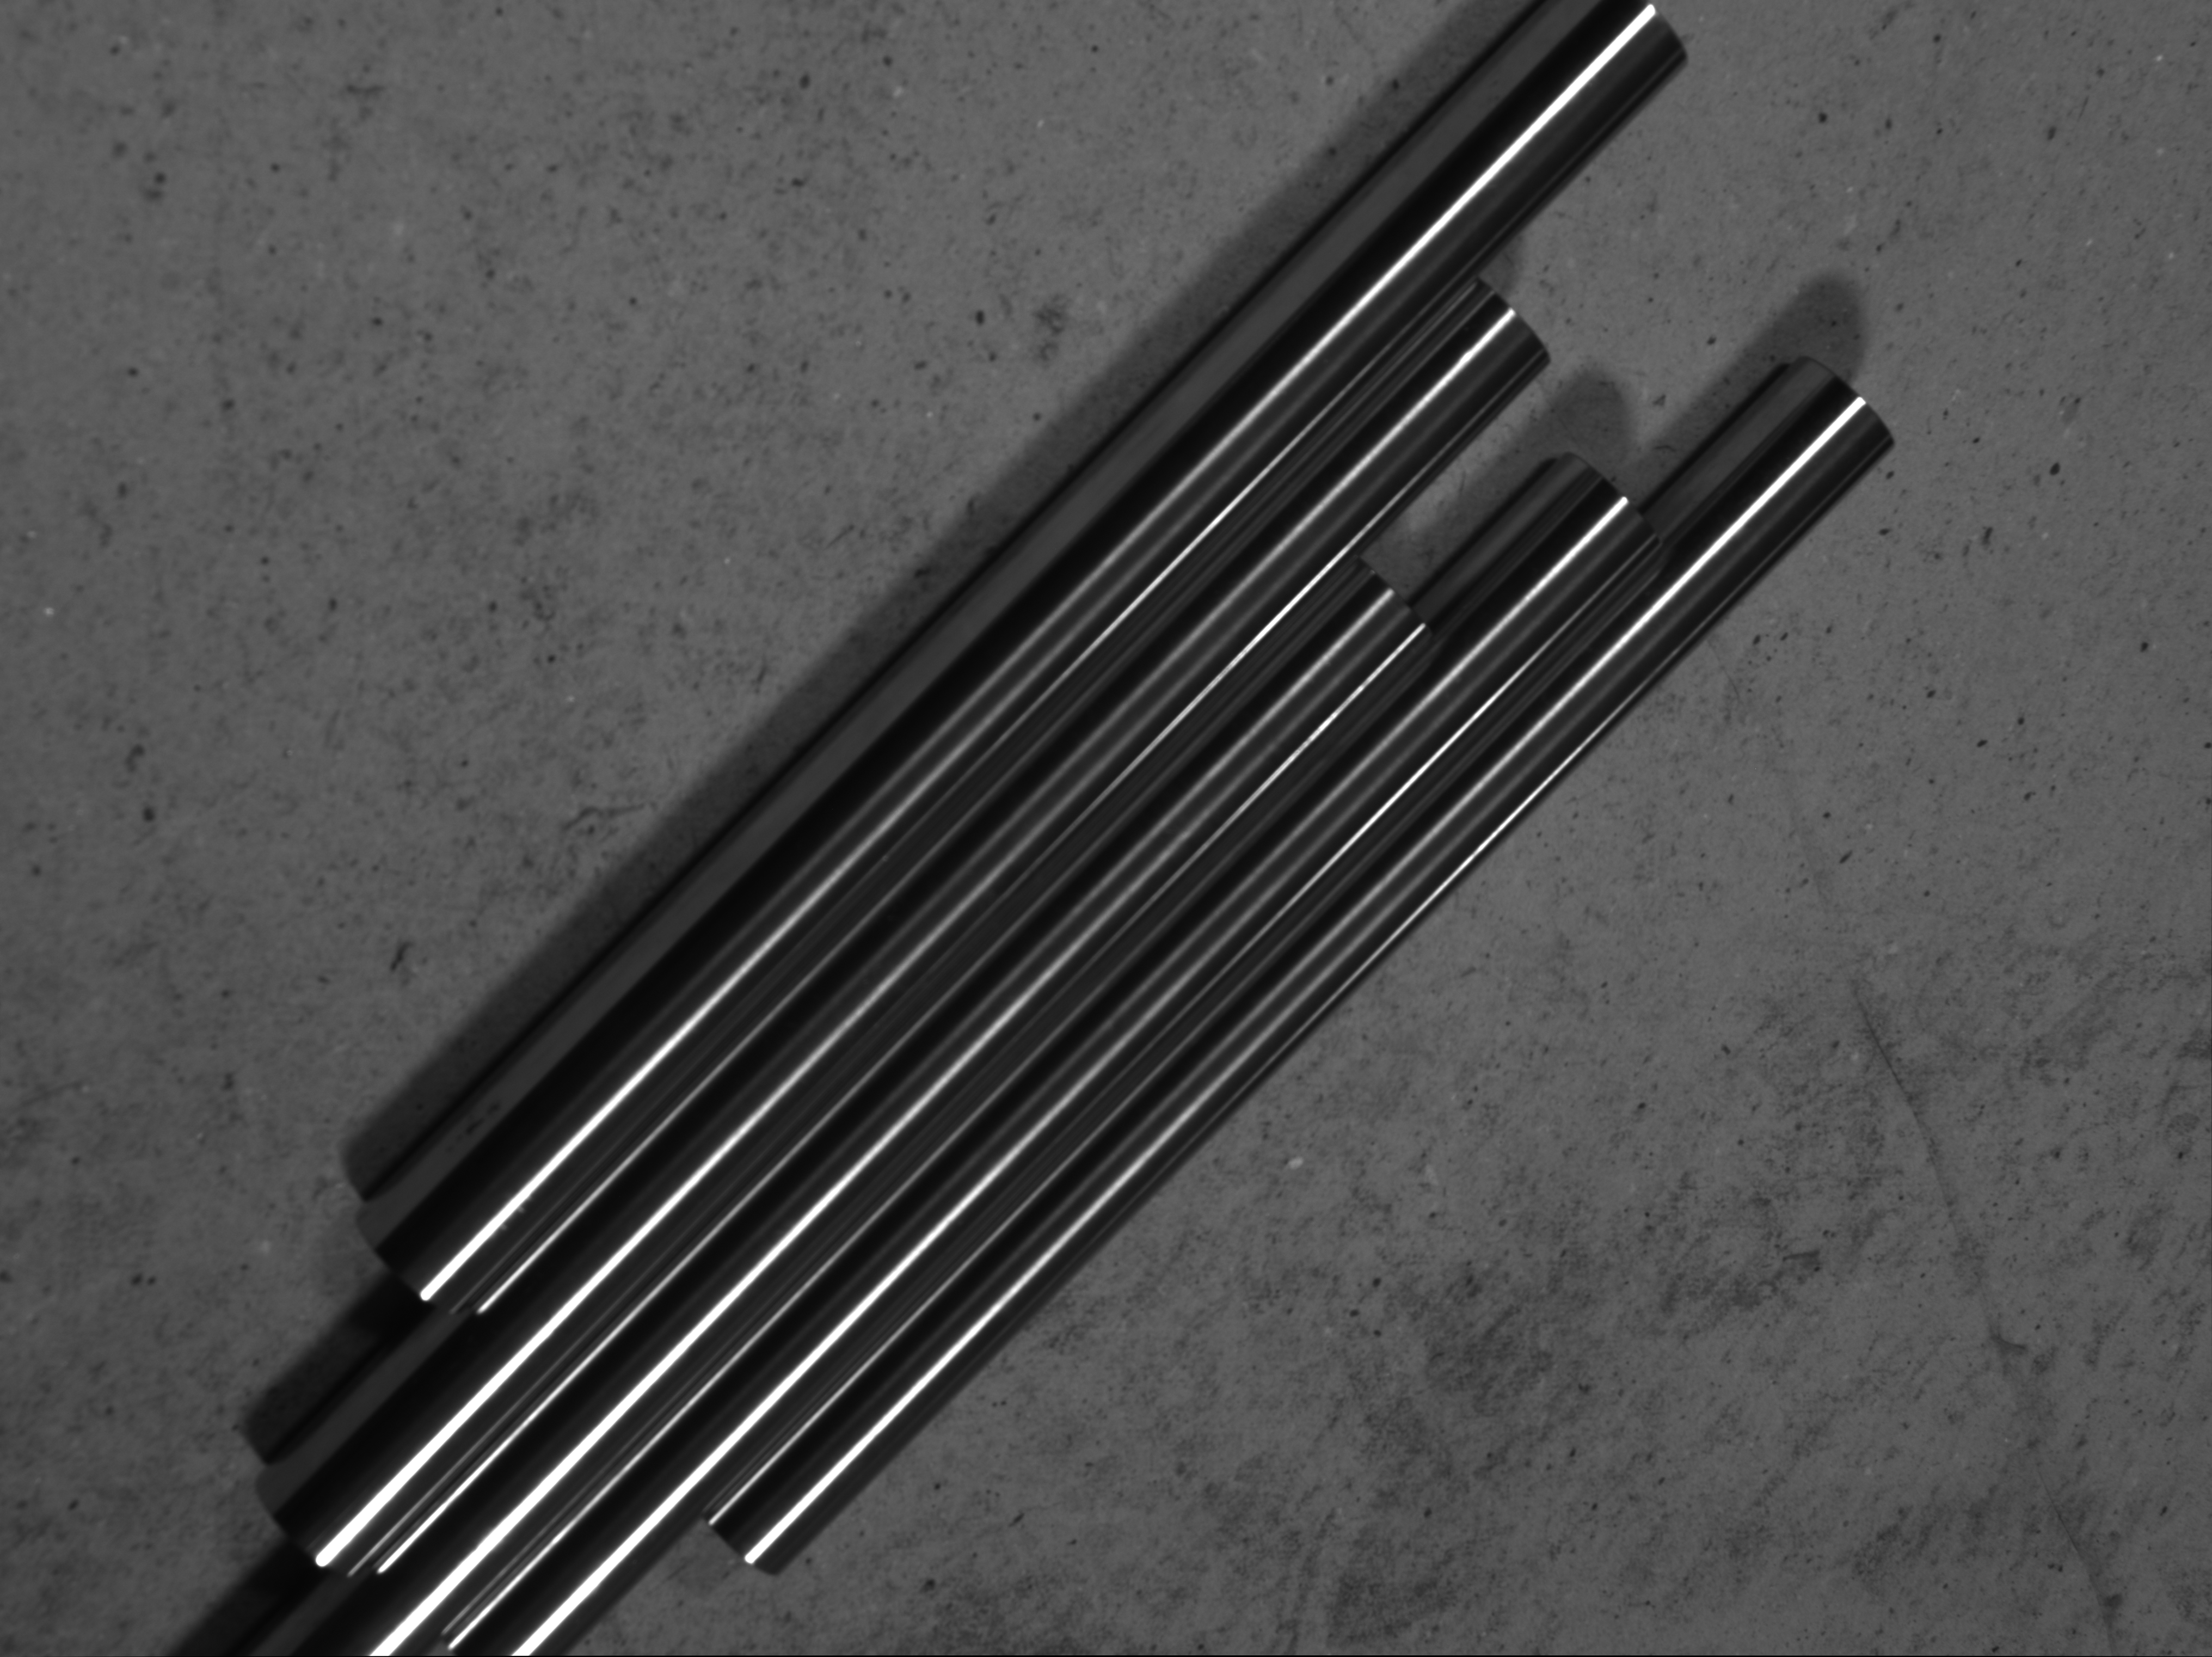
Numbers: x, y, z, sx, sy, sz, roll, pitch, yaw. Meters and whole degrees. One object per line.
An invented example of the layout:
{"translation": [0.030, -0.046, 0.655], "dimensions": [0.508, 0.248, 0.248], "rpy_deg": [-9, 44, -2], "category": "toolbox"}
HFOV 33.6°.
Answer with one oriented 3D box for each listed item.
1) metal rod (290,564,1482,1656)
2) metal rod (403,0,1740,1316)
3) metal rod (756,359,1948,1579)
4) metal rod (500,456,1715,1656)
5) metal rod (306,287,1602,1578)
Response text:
{"translation": [-0.046, 0.064, 0.664], "dimensions": [0.300, 0.025, 0.025], "rpy_deg": [-45, 130, 2], "category": "metal rod"}
{"translation": [-0.007, -0.031, 0.628], "dimensions": [0.300, 0.025, 0.025], "rpy_deg": [-45, 130, 2], "category": "metal rod"}
{"translation": [0.043, 0.027, 0.693], "dimensions": [0.300, 0.025, 0.025], "rpy_deg": [-45, 130, 2], "category": "metal rod"}
{"translation": [-0.002, 0.047, 0.678], "dimensions": [0.300, 0.025, 0.025], "rpy_deg": [-45, 130, 2], "category": "metal rod"}
{"translation": [-0.027, 0.017, 0.646], "dimensions": [0.300, 0.025, 0.025], "rpy_deg": [-45, 130, 2], "category": "metal rod"}
